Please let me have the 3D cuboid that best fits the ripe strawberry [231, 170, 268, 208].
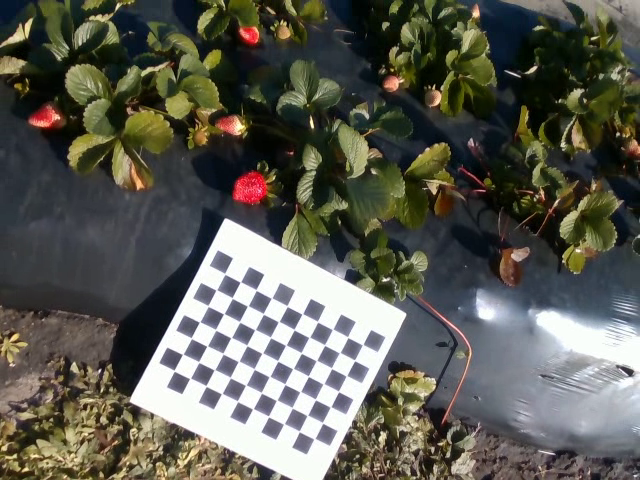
[{"bbox_3d":[-0.098,-0.067,0.843,0.058,0.066,0.061,-16,8,21],"label":"ripe strawberry"}]
